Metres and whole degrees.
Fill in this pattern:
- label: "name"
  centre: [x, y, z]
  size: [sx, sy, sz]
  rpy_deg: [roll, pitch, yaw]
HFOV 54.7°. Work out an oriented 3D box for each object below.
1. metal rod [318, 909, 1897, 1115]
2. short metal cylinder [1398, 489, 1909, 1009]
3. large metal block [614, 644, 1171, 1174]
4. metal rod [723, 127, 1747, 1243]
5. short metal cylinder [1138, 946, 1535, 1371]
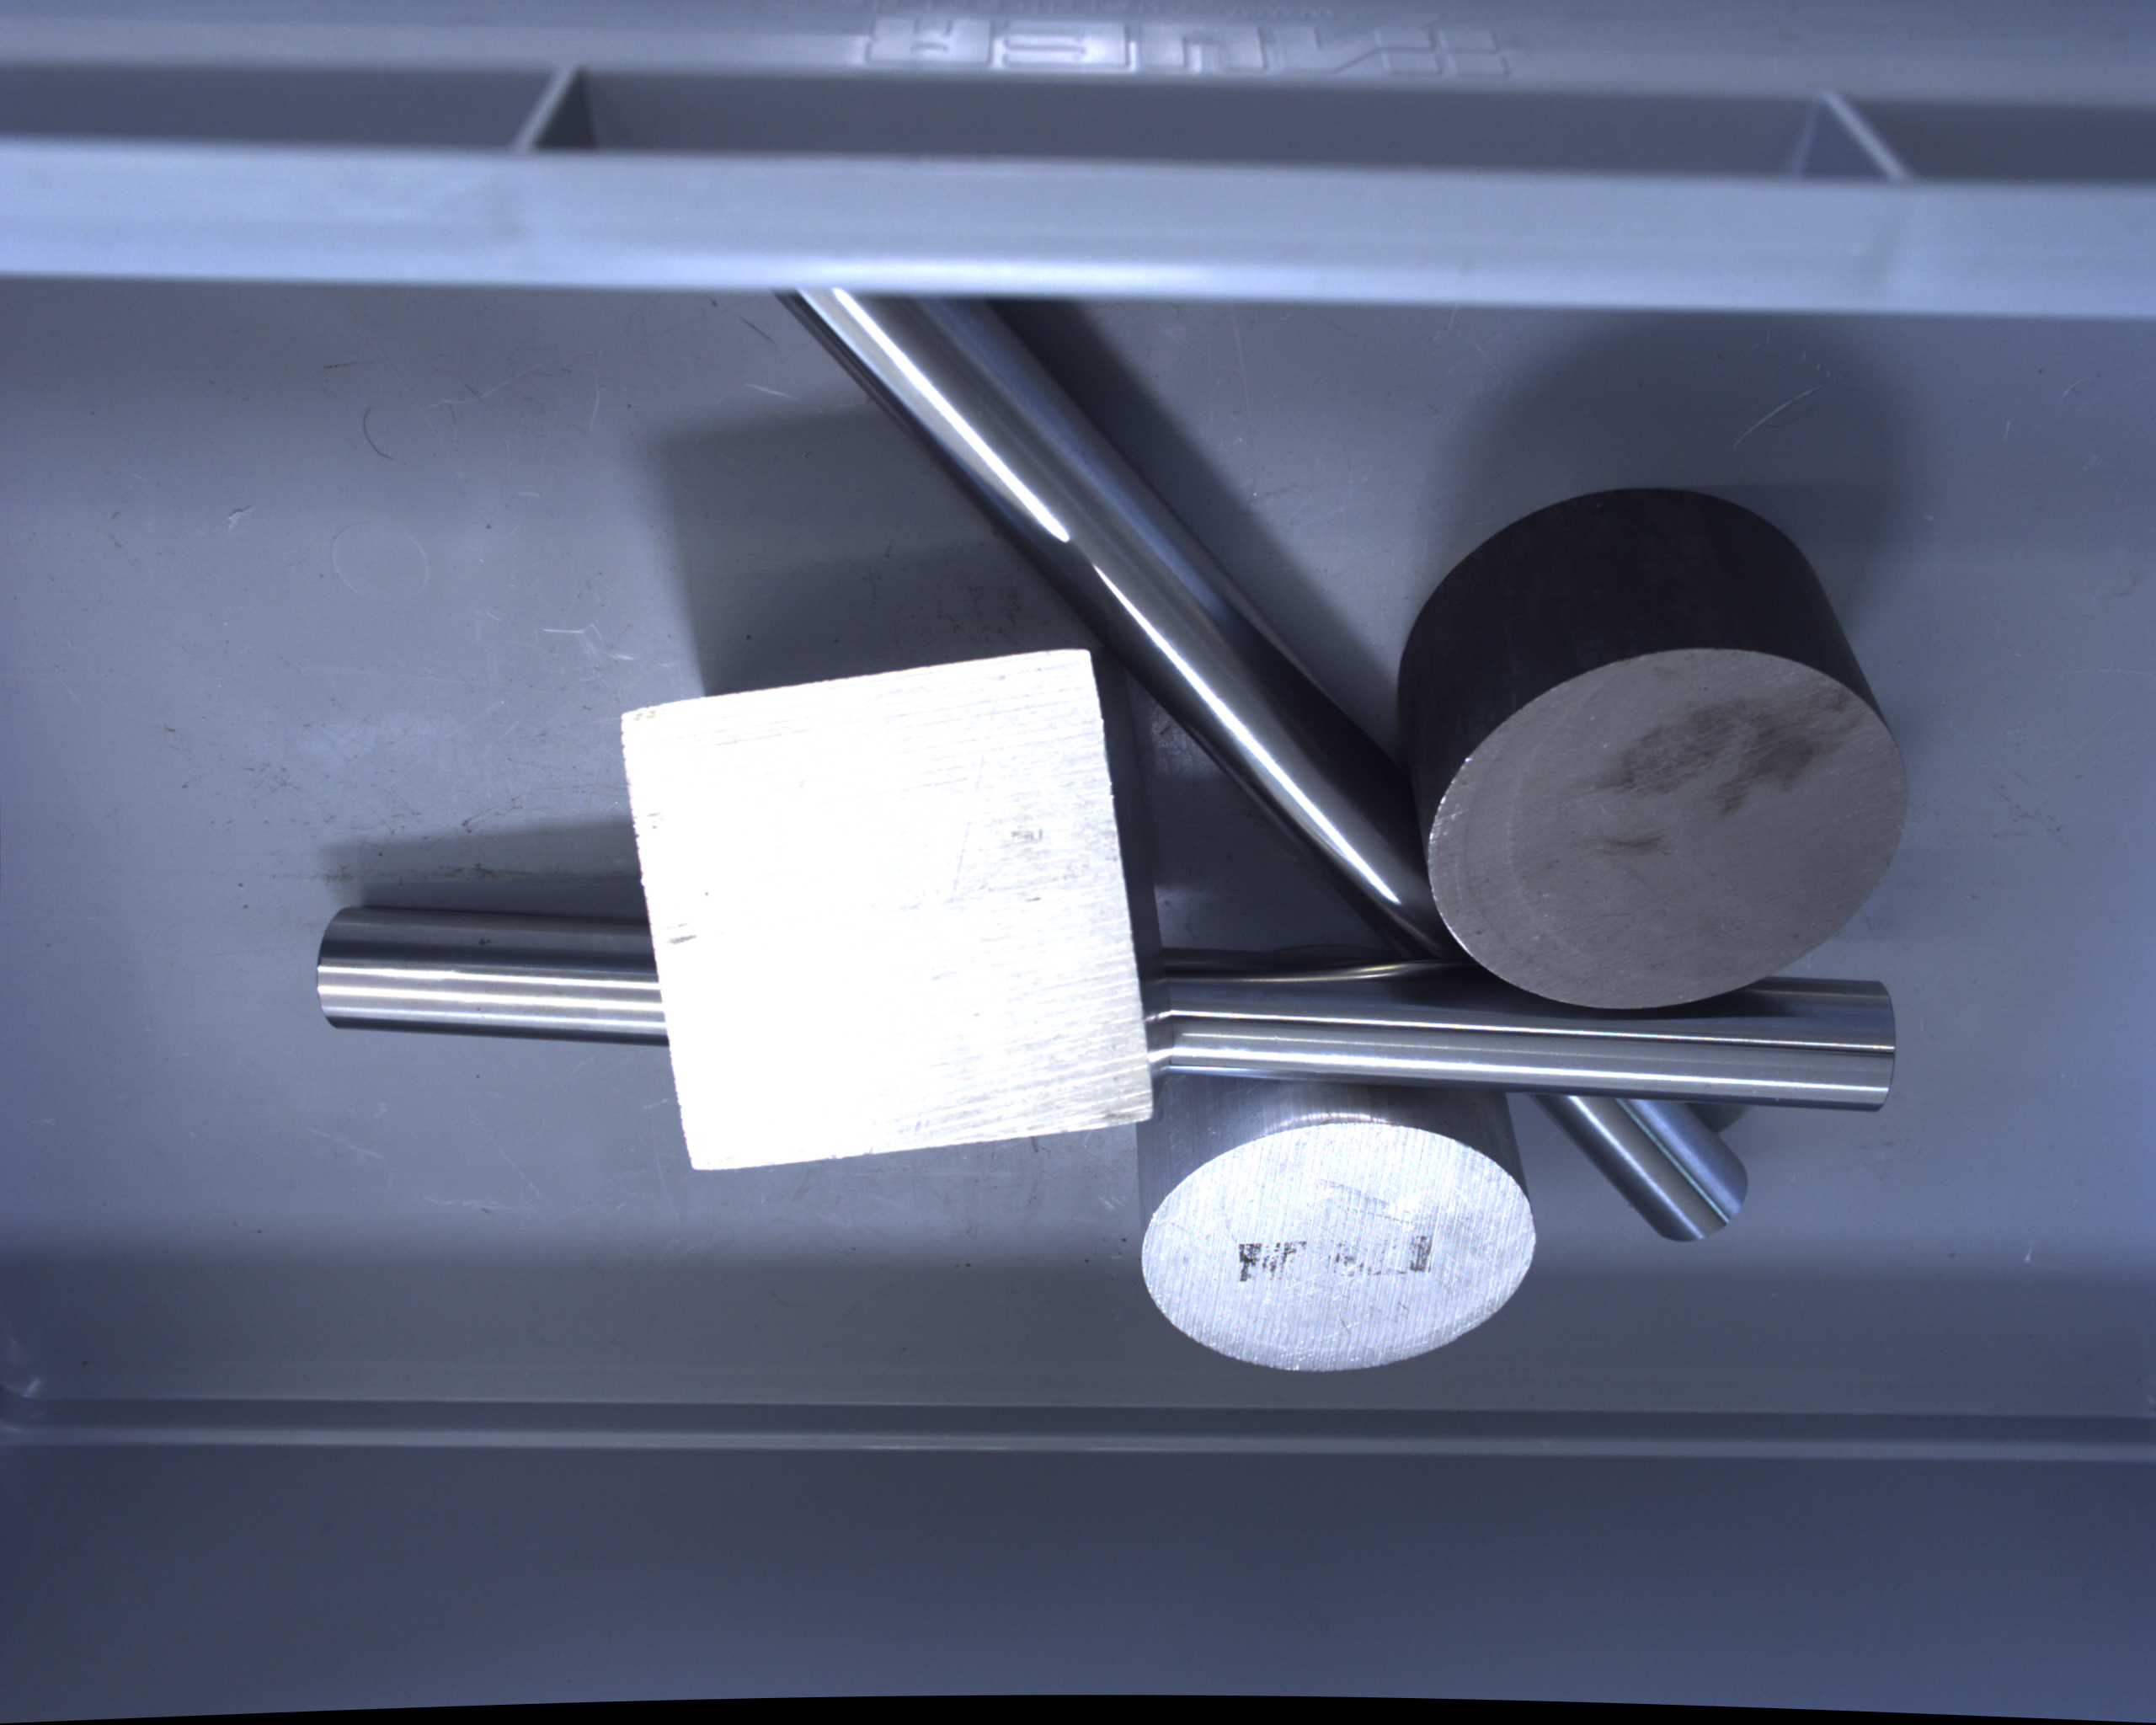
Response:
- label: "metal rod"
  centre: [0.002, 0.029, 0.409]
  size: [0.302, 0.025, 0.025]
  rpy_deg: [3, 131, 5]
- label: "short metal cylinder"
  centre: [0.100, -0.020, 0.375]
  size: [0.081, 0.050, 0.079]
  rpy_deg: [0, 130, 0]
- label: "large metal block"
  centre: [-0.030, 0.006, 0.372]
  size: [0.080, 0.050, 0.079]
  rpy_deg: [-7, 95, 6]
- label: "metal rod"
  centre: [0.047, -0.014, 0.396]
  size: [0.025, 0.025, 0.300]
  rpy_deg: [-31, 124, 23]
- label: "short metal cylinder"
  centre: [0.053, 0.064, 0.445]
  size: [0.081, 0.050, 0.079]
  rpy_deg: [0, 130, 0]
